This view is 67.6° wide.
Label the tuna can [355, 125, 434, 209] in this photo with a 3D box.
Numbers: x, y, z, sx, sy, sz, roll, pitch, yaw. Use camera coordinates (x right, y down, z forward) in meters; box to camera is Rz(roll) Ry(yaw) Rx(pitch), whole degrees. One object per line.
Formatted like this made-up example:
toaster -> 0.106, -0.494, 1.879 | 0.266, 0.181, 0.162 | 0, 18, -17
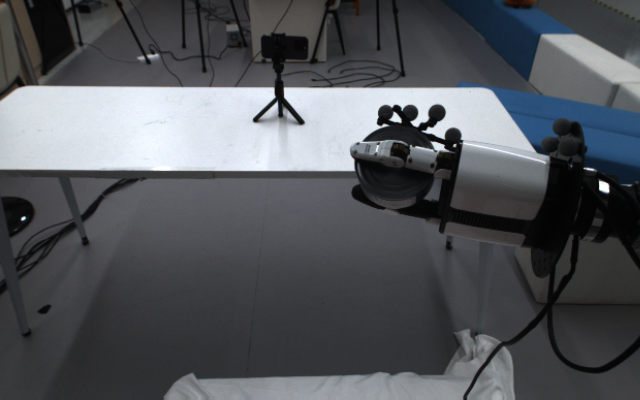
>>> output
tuna can -> 0.083, -0.038, 0.521 | 0.085, 0.034, 0.085 | -4, 66, 10
